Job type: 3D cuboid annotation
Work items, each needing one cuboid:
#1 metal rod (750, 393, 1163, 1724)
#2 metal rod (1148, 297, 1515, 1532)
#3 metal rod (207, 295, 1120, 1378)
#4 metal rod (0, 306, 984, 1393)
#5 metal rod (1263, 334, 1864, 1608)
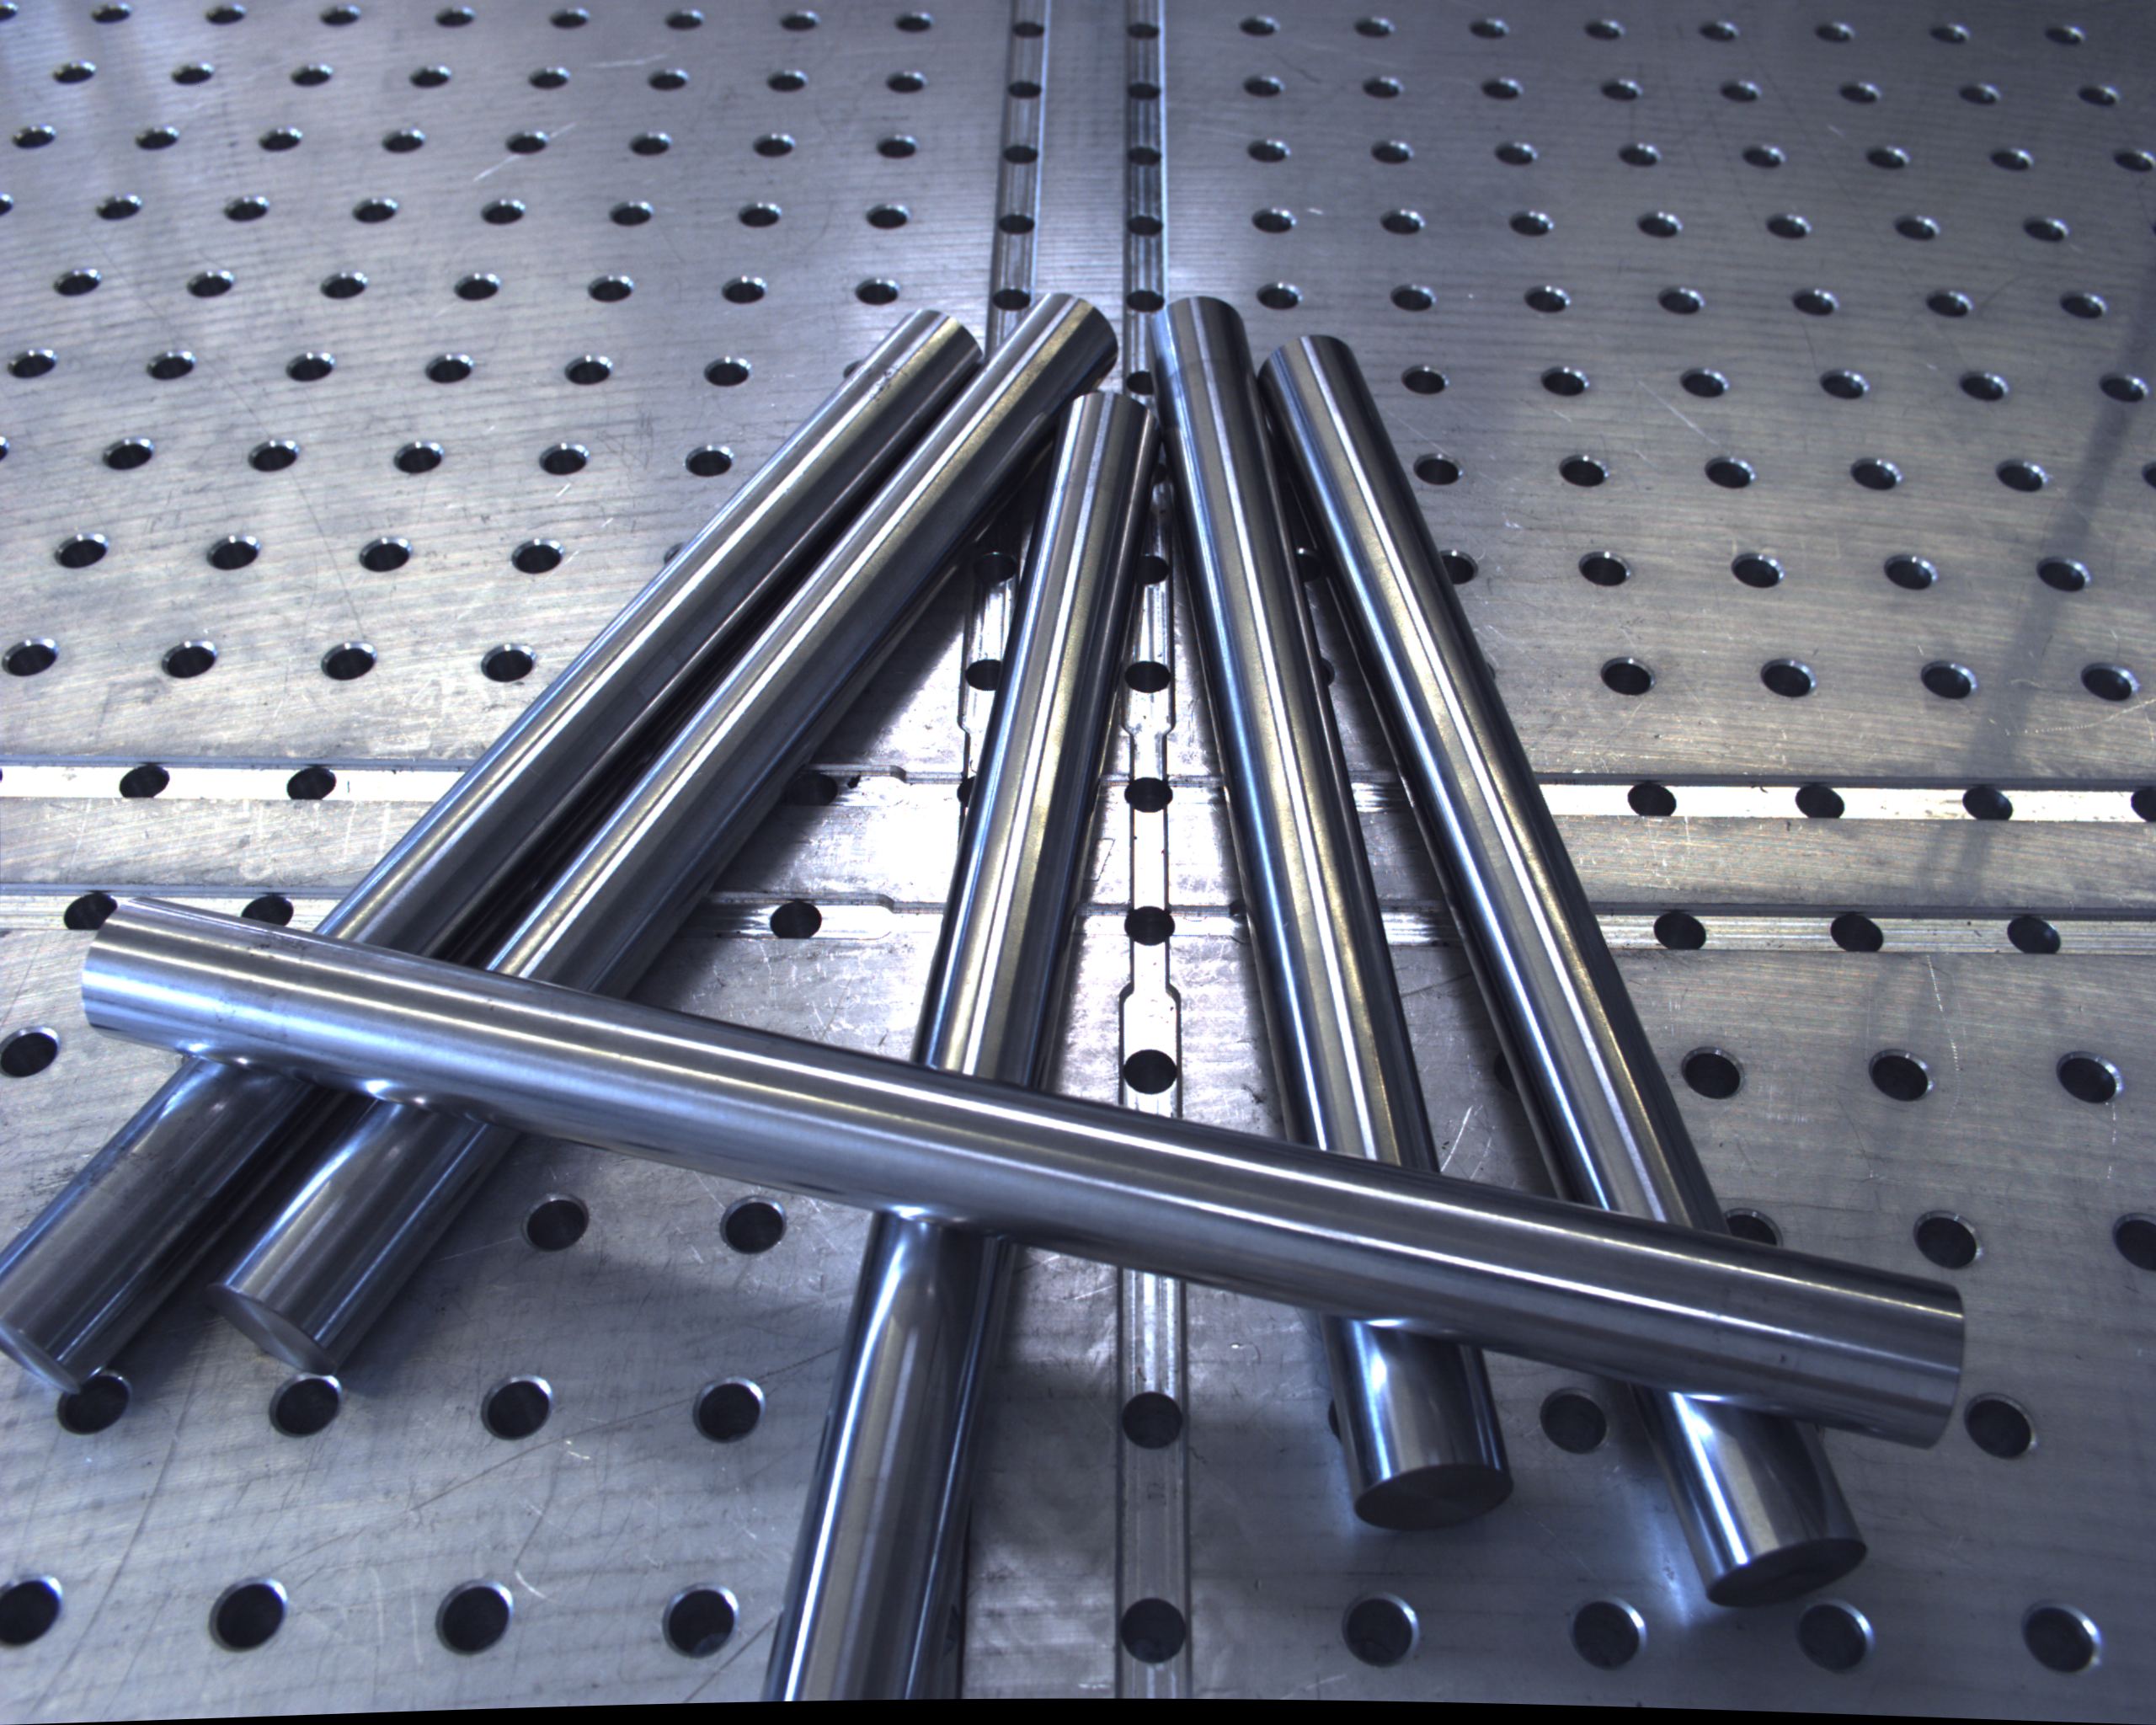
[{"bbox_3d":[-0.014,0.013,0.397,0.025,0.025,0.300,6,50,5],"label":"metal rod"},{"bbox_3d":[0.043,-0.015,0.421,0.025,0.025,0.300,-4,50,-3],"label":"metal rod"},{"bbox_3d":[-0.067,-0.026,0.430,0.025,0.025,0.301,20,53,16],"label":"metal rod"},{"bbox_3d":[-0.103,-0.023,0.426,0.025,0.025,0.301,22,53,17],"label":"metal rod"},{"bbox_3d":[0.082,-0.005,0.412,0.025,0.025,0.300,-7,50,-6],"label":"metal rod"}]
